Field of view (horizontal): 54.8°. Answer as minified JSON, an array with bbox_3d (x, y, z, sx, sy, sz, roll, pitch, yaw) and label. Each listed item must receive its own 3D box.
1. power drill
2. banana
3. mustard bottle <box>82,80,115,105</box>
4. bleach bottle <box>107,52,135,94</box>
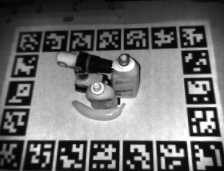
[{"bbox_3d":[-0.087,-0.059,0.711,0.184,0.188,0.057,10,72,8],"label":"power drill"},{"bbox_3d":[-0.056,0.070,0.778,0.196,0.039,0.074,3,73,9],"label":"banana"},{"bbox_3d":[-0.045,0.014,0.705,0.096,0.192,0.058,-1,71,5],"label":"mustard bottle"},{"bbox_3d":[0.023,-0.050,0.695,0.102,0.252,0.067,1,66,7],"label":"bleach bottle"}]
